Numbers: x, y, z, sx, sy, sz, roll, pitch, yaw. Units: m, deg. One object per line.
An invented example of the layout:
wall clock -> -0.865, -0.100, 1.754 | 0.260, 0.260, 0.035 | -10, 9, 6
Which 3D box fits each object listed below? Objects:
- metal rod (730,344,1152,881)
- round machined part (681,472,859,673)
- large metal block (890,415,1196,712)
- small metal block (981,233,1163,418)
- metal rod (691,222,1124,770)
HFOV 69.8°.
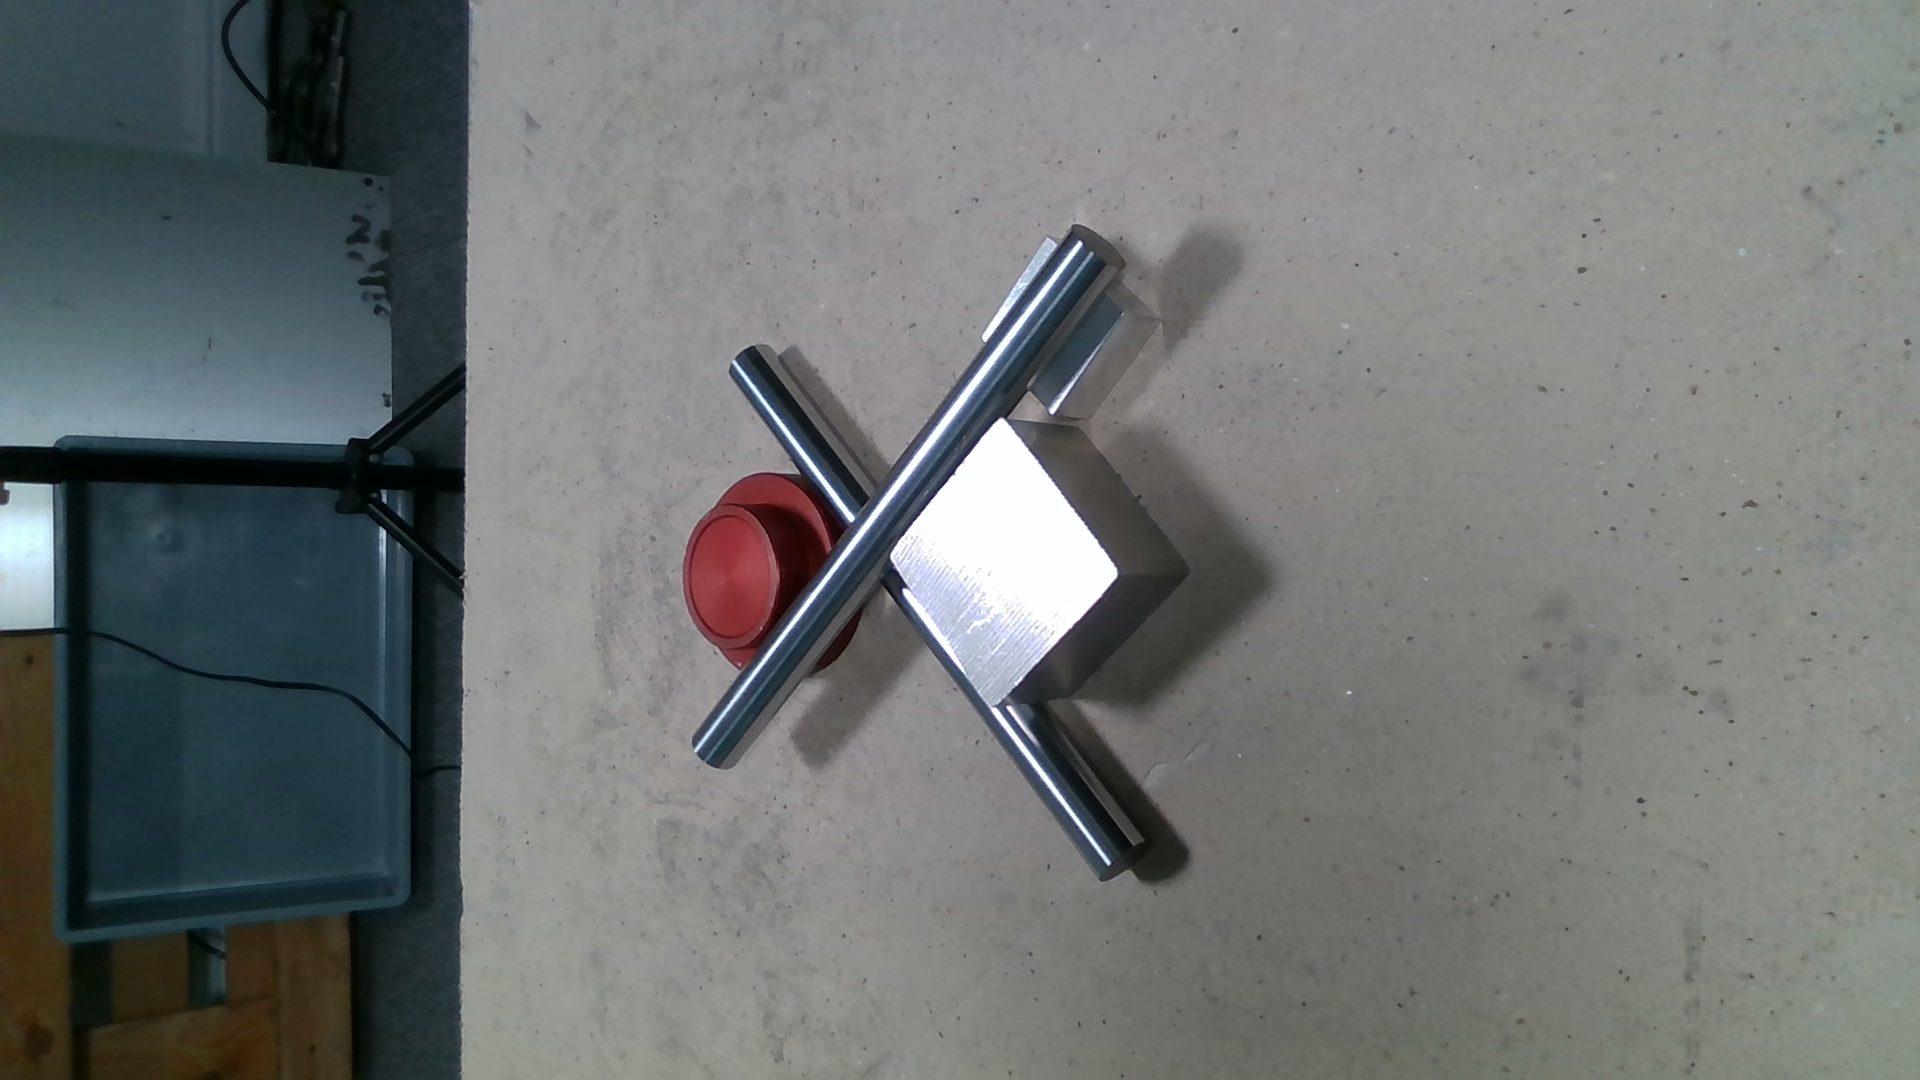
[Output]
metal rod -> -0.018, 0.019, 0.600 | 0.299, 0.025, 0.025 | 52, 121, 27
round machined part -> -0.094, 0.017, 0.650 | 0.098, 0.042, 0.098 | 0, 91, 40
large metal block -> 0.031, 0.009, 0.541 | 0.080, 0.050, 0.080 | -50, 61, 29
small metal block -> 0.044, -0.084, 0.546 | 0.050, 0.025, 0.050 | 50, 120, 28
metal rod -> -0.033, -0.005, 0.576 | 0.301, 0.025, 0.025 | -51, 60, 28
